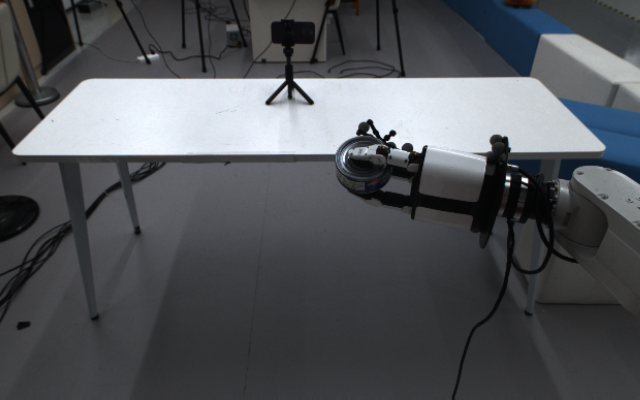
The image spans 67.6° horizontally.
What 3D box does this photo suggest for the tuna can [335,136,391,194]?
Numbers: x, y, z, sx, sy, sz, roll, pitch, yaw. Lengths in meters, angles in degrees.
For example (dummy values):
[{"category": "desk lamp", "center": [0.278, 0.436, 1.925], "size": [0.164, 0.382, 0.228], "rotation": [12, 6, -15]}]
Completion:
[{"category": "tuna can", "center": [0.069, -0.049, 0.720], "size": [0.085, 0.034, 0.085], "rotation": [-4, 58, 6]}]
